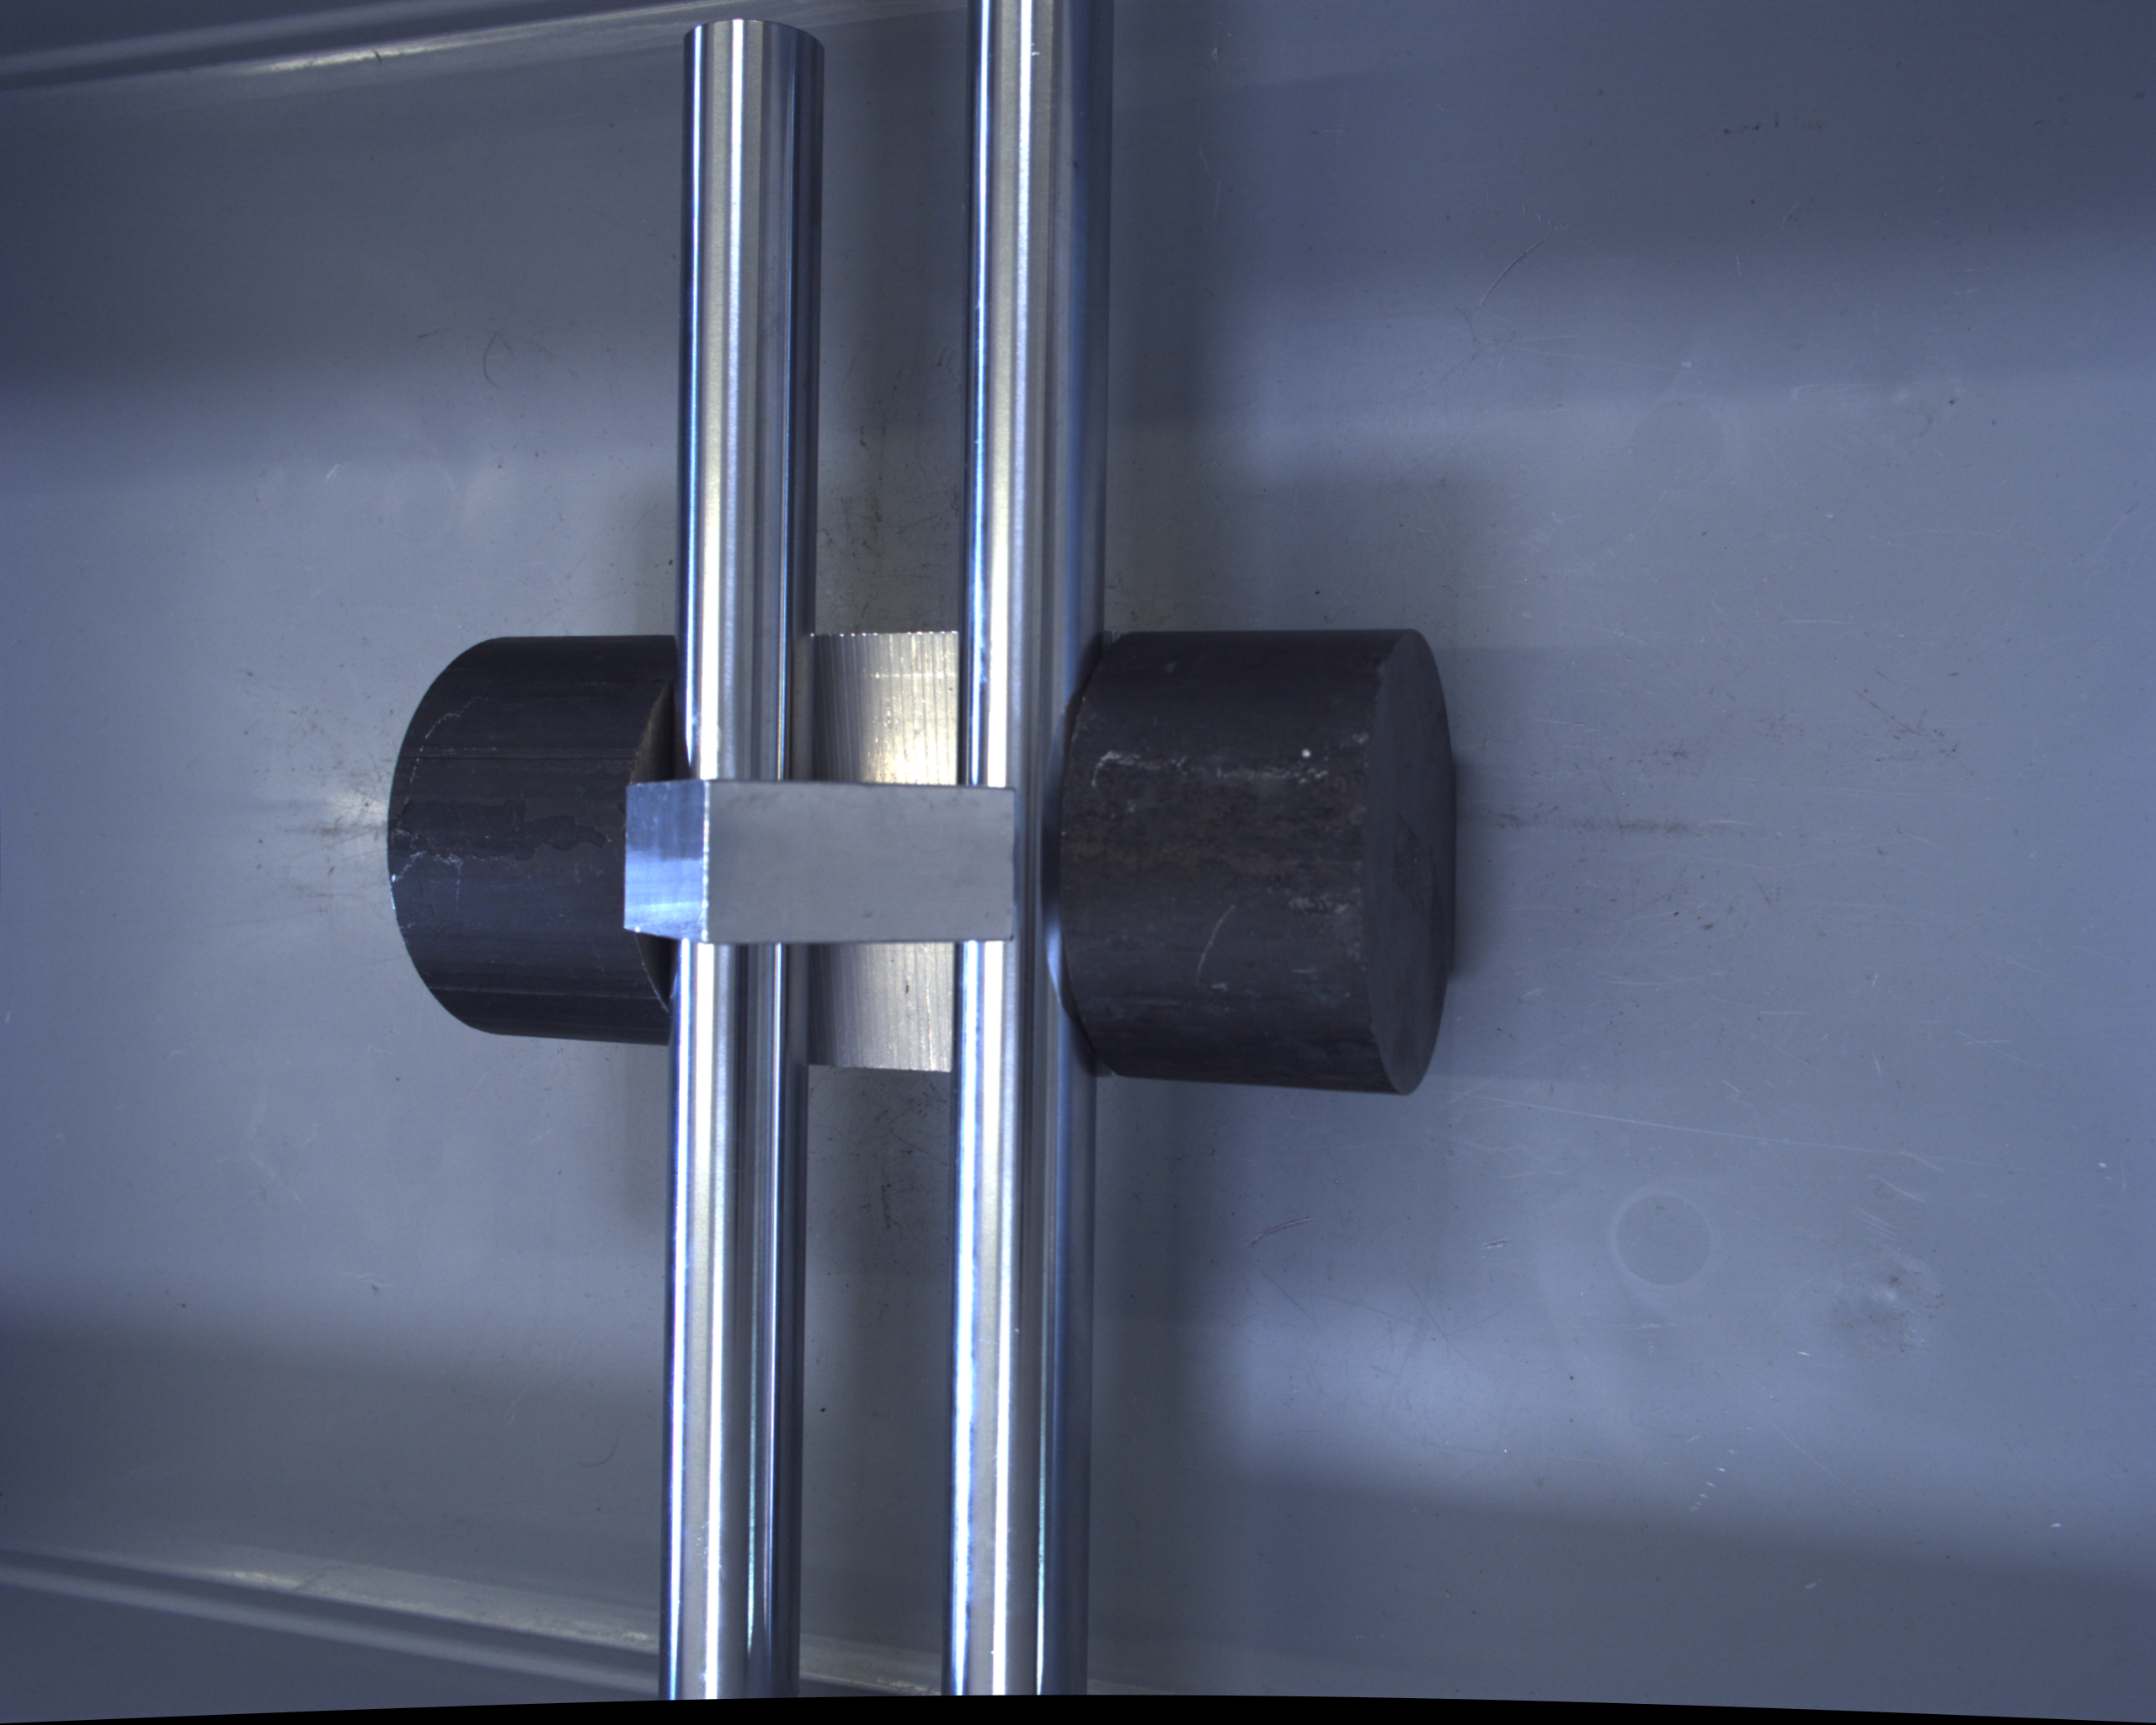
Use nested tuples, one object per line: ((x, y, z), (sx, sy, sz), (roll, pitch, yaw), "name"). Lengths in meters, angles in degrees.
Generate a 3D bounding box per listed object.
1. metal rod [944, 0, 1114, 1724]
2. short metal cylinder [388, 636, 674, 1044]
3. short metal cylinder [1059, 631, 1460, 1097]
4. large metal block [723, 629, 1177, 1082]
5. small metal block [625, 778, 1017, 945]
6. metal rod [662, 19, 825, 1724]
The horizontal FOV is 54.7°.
((-0.008, 0.000, 0.359), (0.025, 0.025, 0.298), (1, 90, 20), "metal rod")
((-0.089, -0.005, 0.411), (0.050, 0.080, 0.079), (2, 91, 20), "short metal cylinder")
((0.035, 0.000, 0.367), (0.050, 0.080, 0.079), (1, 90, 21), "short metal cylinder")
((-0.022, -0.002, 0.403), (0.080, 0.050, 0.079), (1, 90, 20), "large metal block")
((-0.043, 0.000, 0.344), (0.050, 0.050, 0.025), (2, 92, 64), "small metal block")
((-0.060, 0.002, 0.377), (0.025, 0.025, 0.298), (1, 90, 20), "metal rod")
